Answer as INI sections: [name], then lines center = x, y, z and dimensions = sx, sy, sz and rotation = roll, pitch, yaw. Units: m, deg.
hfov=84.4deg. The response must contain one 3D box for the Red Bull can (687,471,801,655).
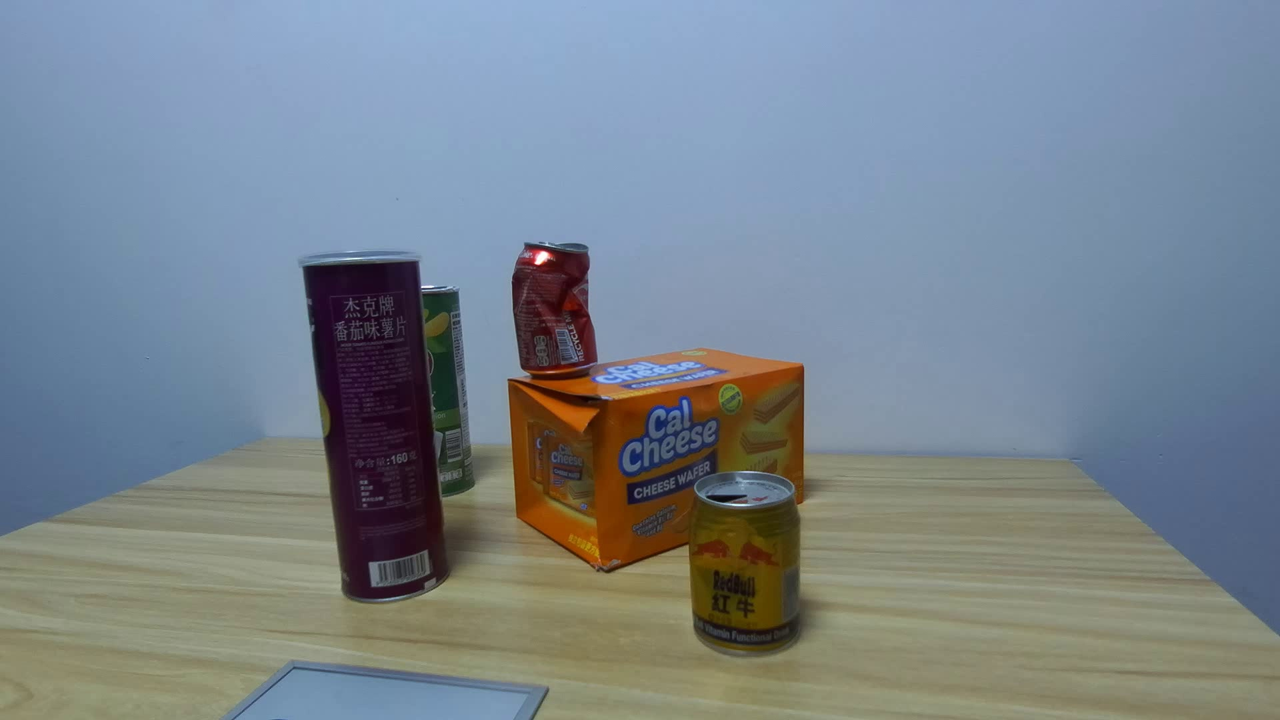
[Red Bull can]
center = 0.063, 0.119, 0.425
dimensions = 0.069, 0.092, 0.069
rotation = -2, 11, 1

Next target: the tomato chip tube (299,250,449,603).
[tomato chip tube]
center = -0.184, 0.047, 0.500
dimensions = 0.078, 0.233, 0.078
rotation = -3, 9, 1

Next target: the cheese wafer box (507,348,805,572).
[cheese wafer box]
center = 0.016, 0.069, 0.615
dimensions = 0.228, 0.137, 0.149
rotation = -8, 12, -35

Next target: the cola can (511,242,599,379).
[cola can]
center = -0.072, -0.043, 0.597
dimensions = 0.069, 0.112, 0.065
rotation = -5, 10, -17
